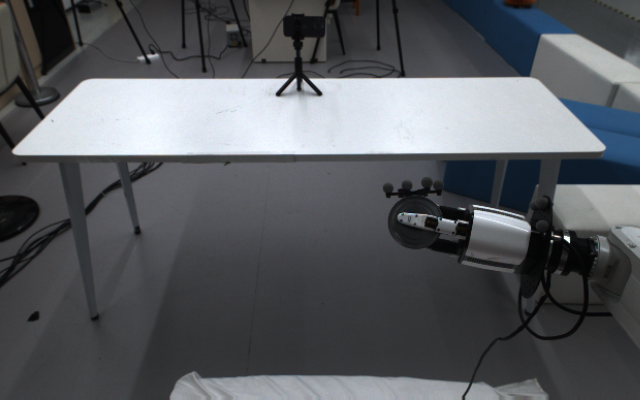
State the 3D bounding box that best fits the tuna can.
[{"bbox_3d":[0.152,0.035,0.769,0.085,0.085,0.034,11,-8,13],"label":"tuna can"}]
